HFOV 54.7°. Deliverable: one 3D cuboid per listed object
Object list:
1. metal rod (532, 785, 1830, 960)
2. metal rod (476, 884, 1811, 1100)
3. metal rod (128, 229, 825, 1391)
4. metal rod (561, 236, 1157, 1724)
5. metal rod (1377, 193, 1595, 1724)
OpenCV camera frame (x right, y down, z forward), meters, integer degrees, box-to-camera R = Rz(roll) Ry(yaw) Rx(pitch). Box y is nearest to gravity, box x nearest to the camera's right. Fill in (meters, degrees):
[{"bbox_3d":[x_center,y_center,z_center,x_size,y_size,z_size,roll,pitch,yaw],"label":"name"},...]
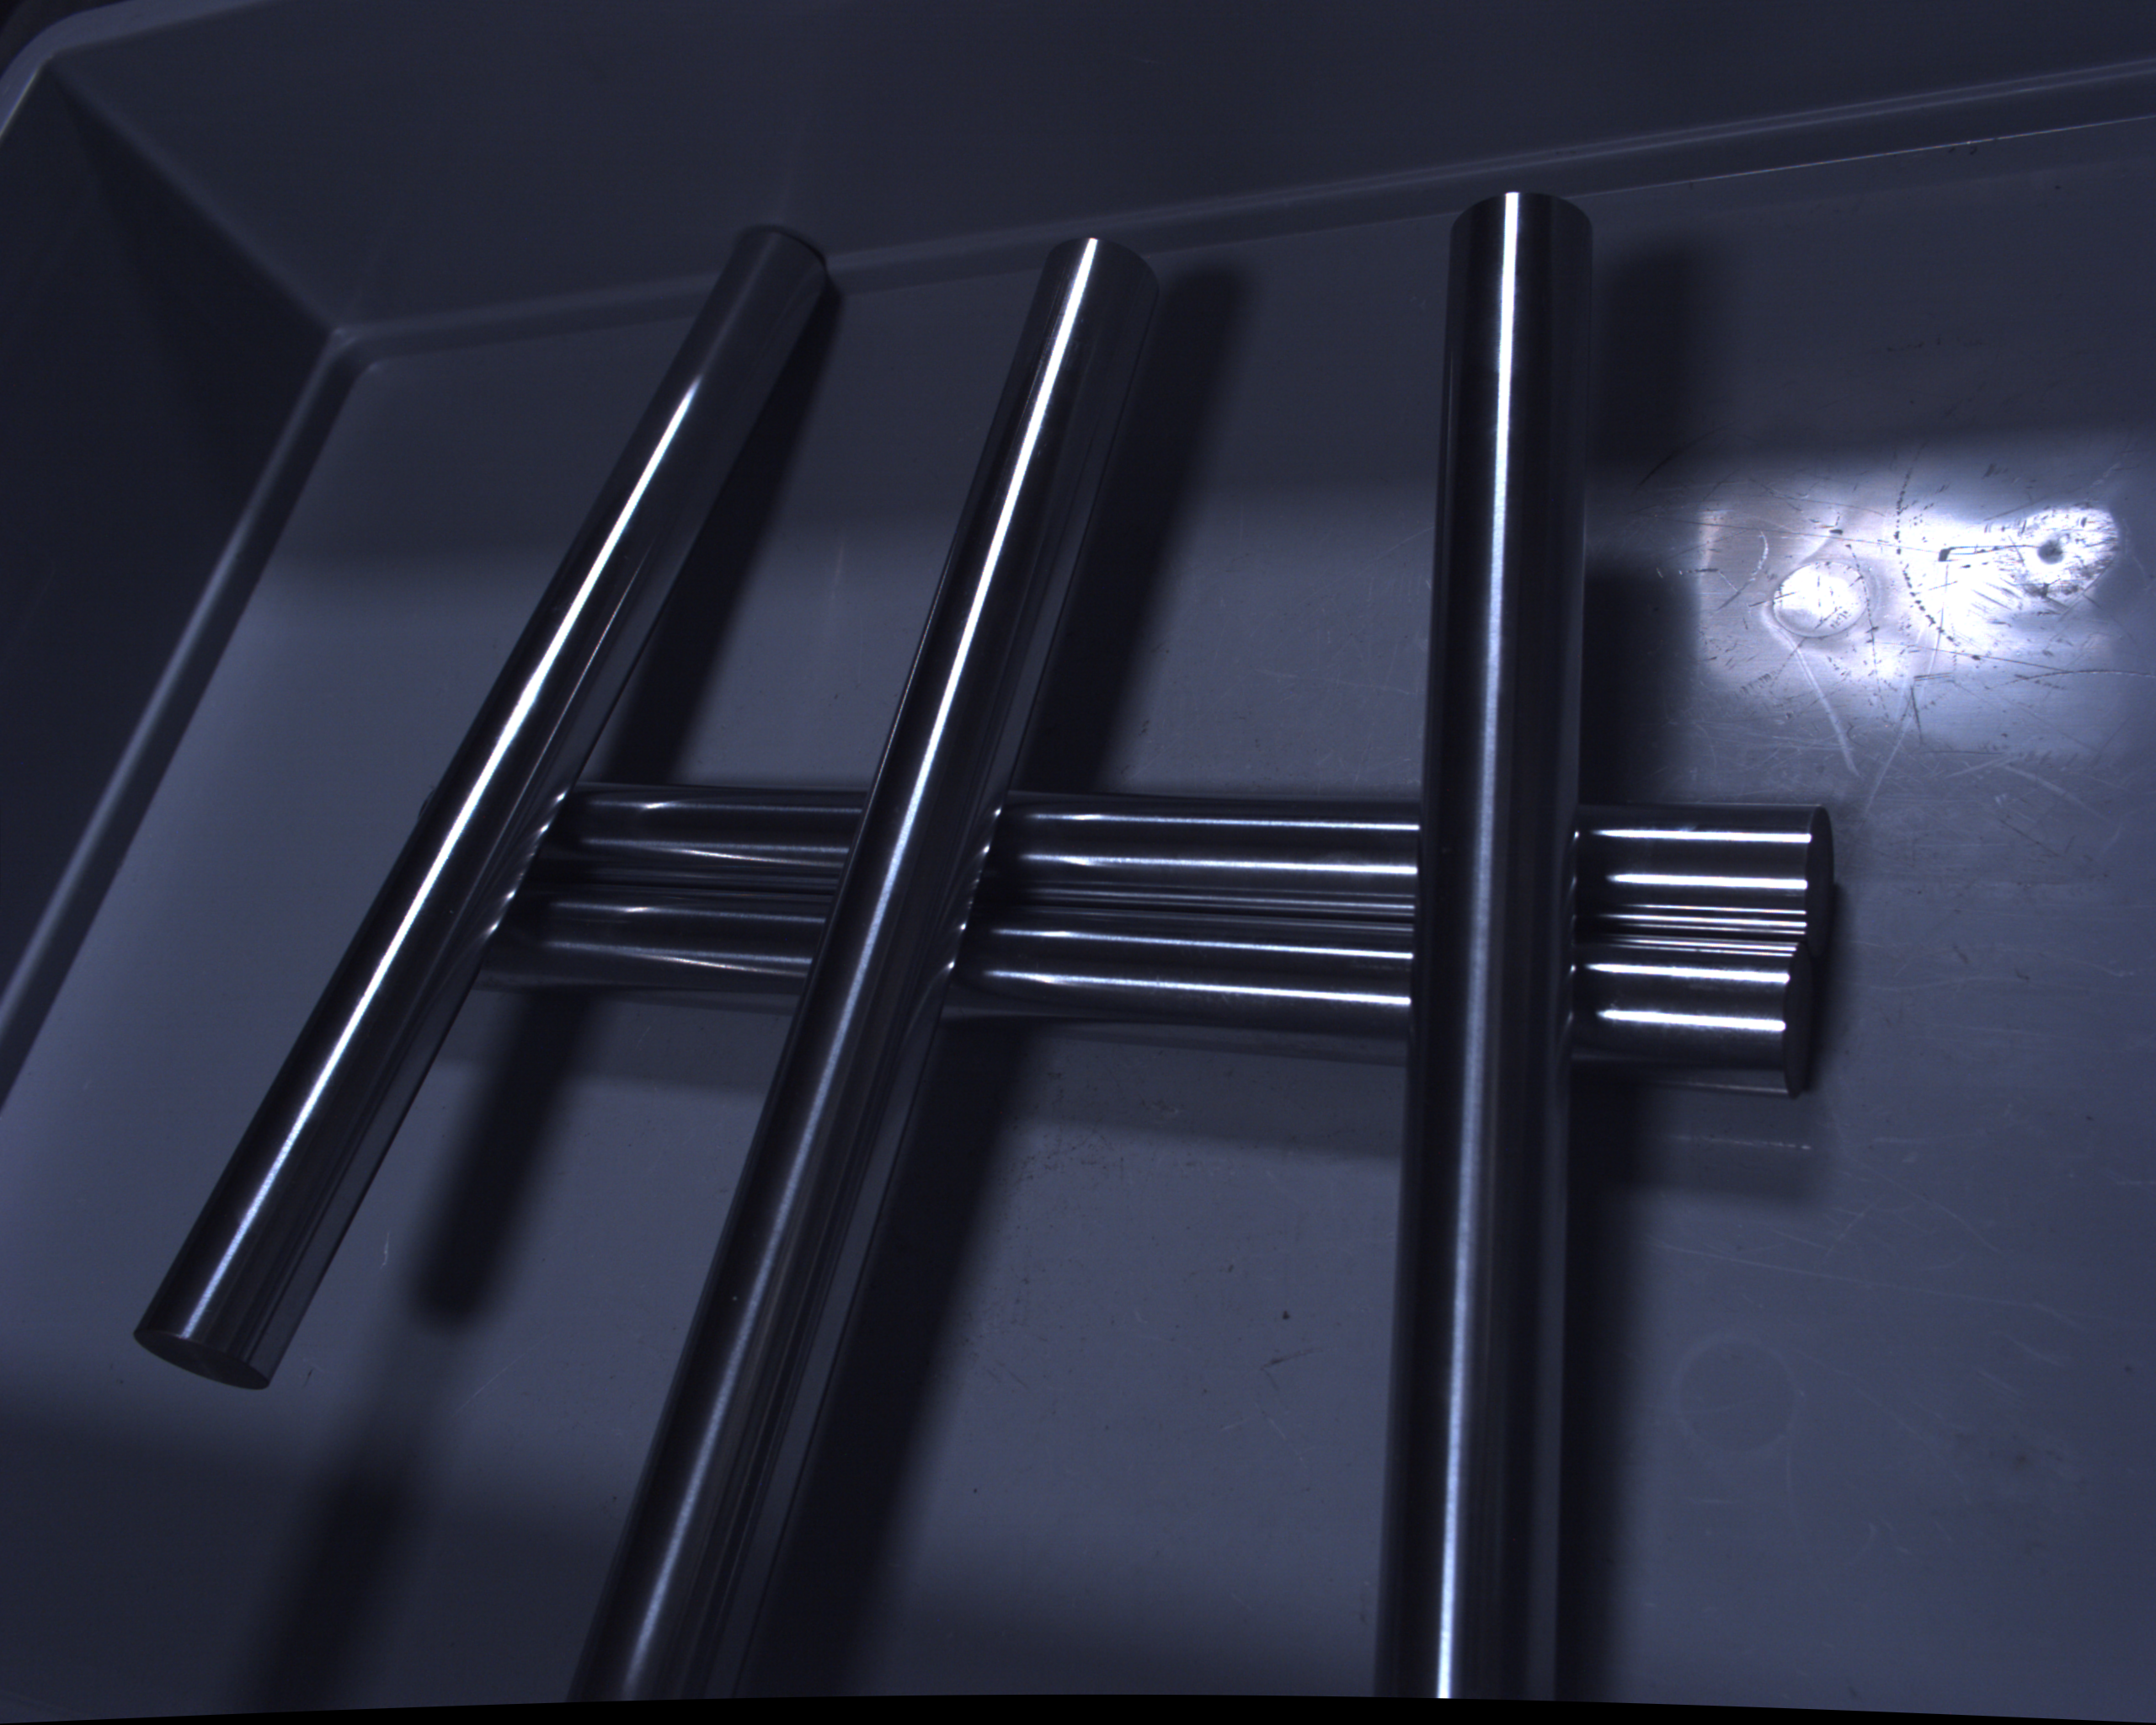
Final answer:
[{"bbox_3d":[-0.012,-0.001,0.410,0.300,0.025,0.025,2,63,28],"label":"metal rod"},{"bbox_3d":[-0.018,0.020,0.400,0.300,0.025,0.025,2,63,28],"label":"metal rod"},{"bbox_3d":[-0.117,-0.031,0.452,0.025,0.025,0.300,-1,53,27],"label":"metal rod"},{"bbox_3d":[-0.032,0.007,0.383,0.025,0.025,0.300,2,62,28],"label":"metal rod"},{"bbox_3d":[0.064,0.028,0.323,0.025,0.025,0.299,-4,68,26],"label":"metal rod"}]
